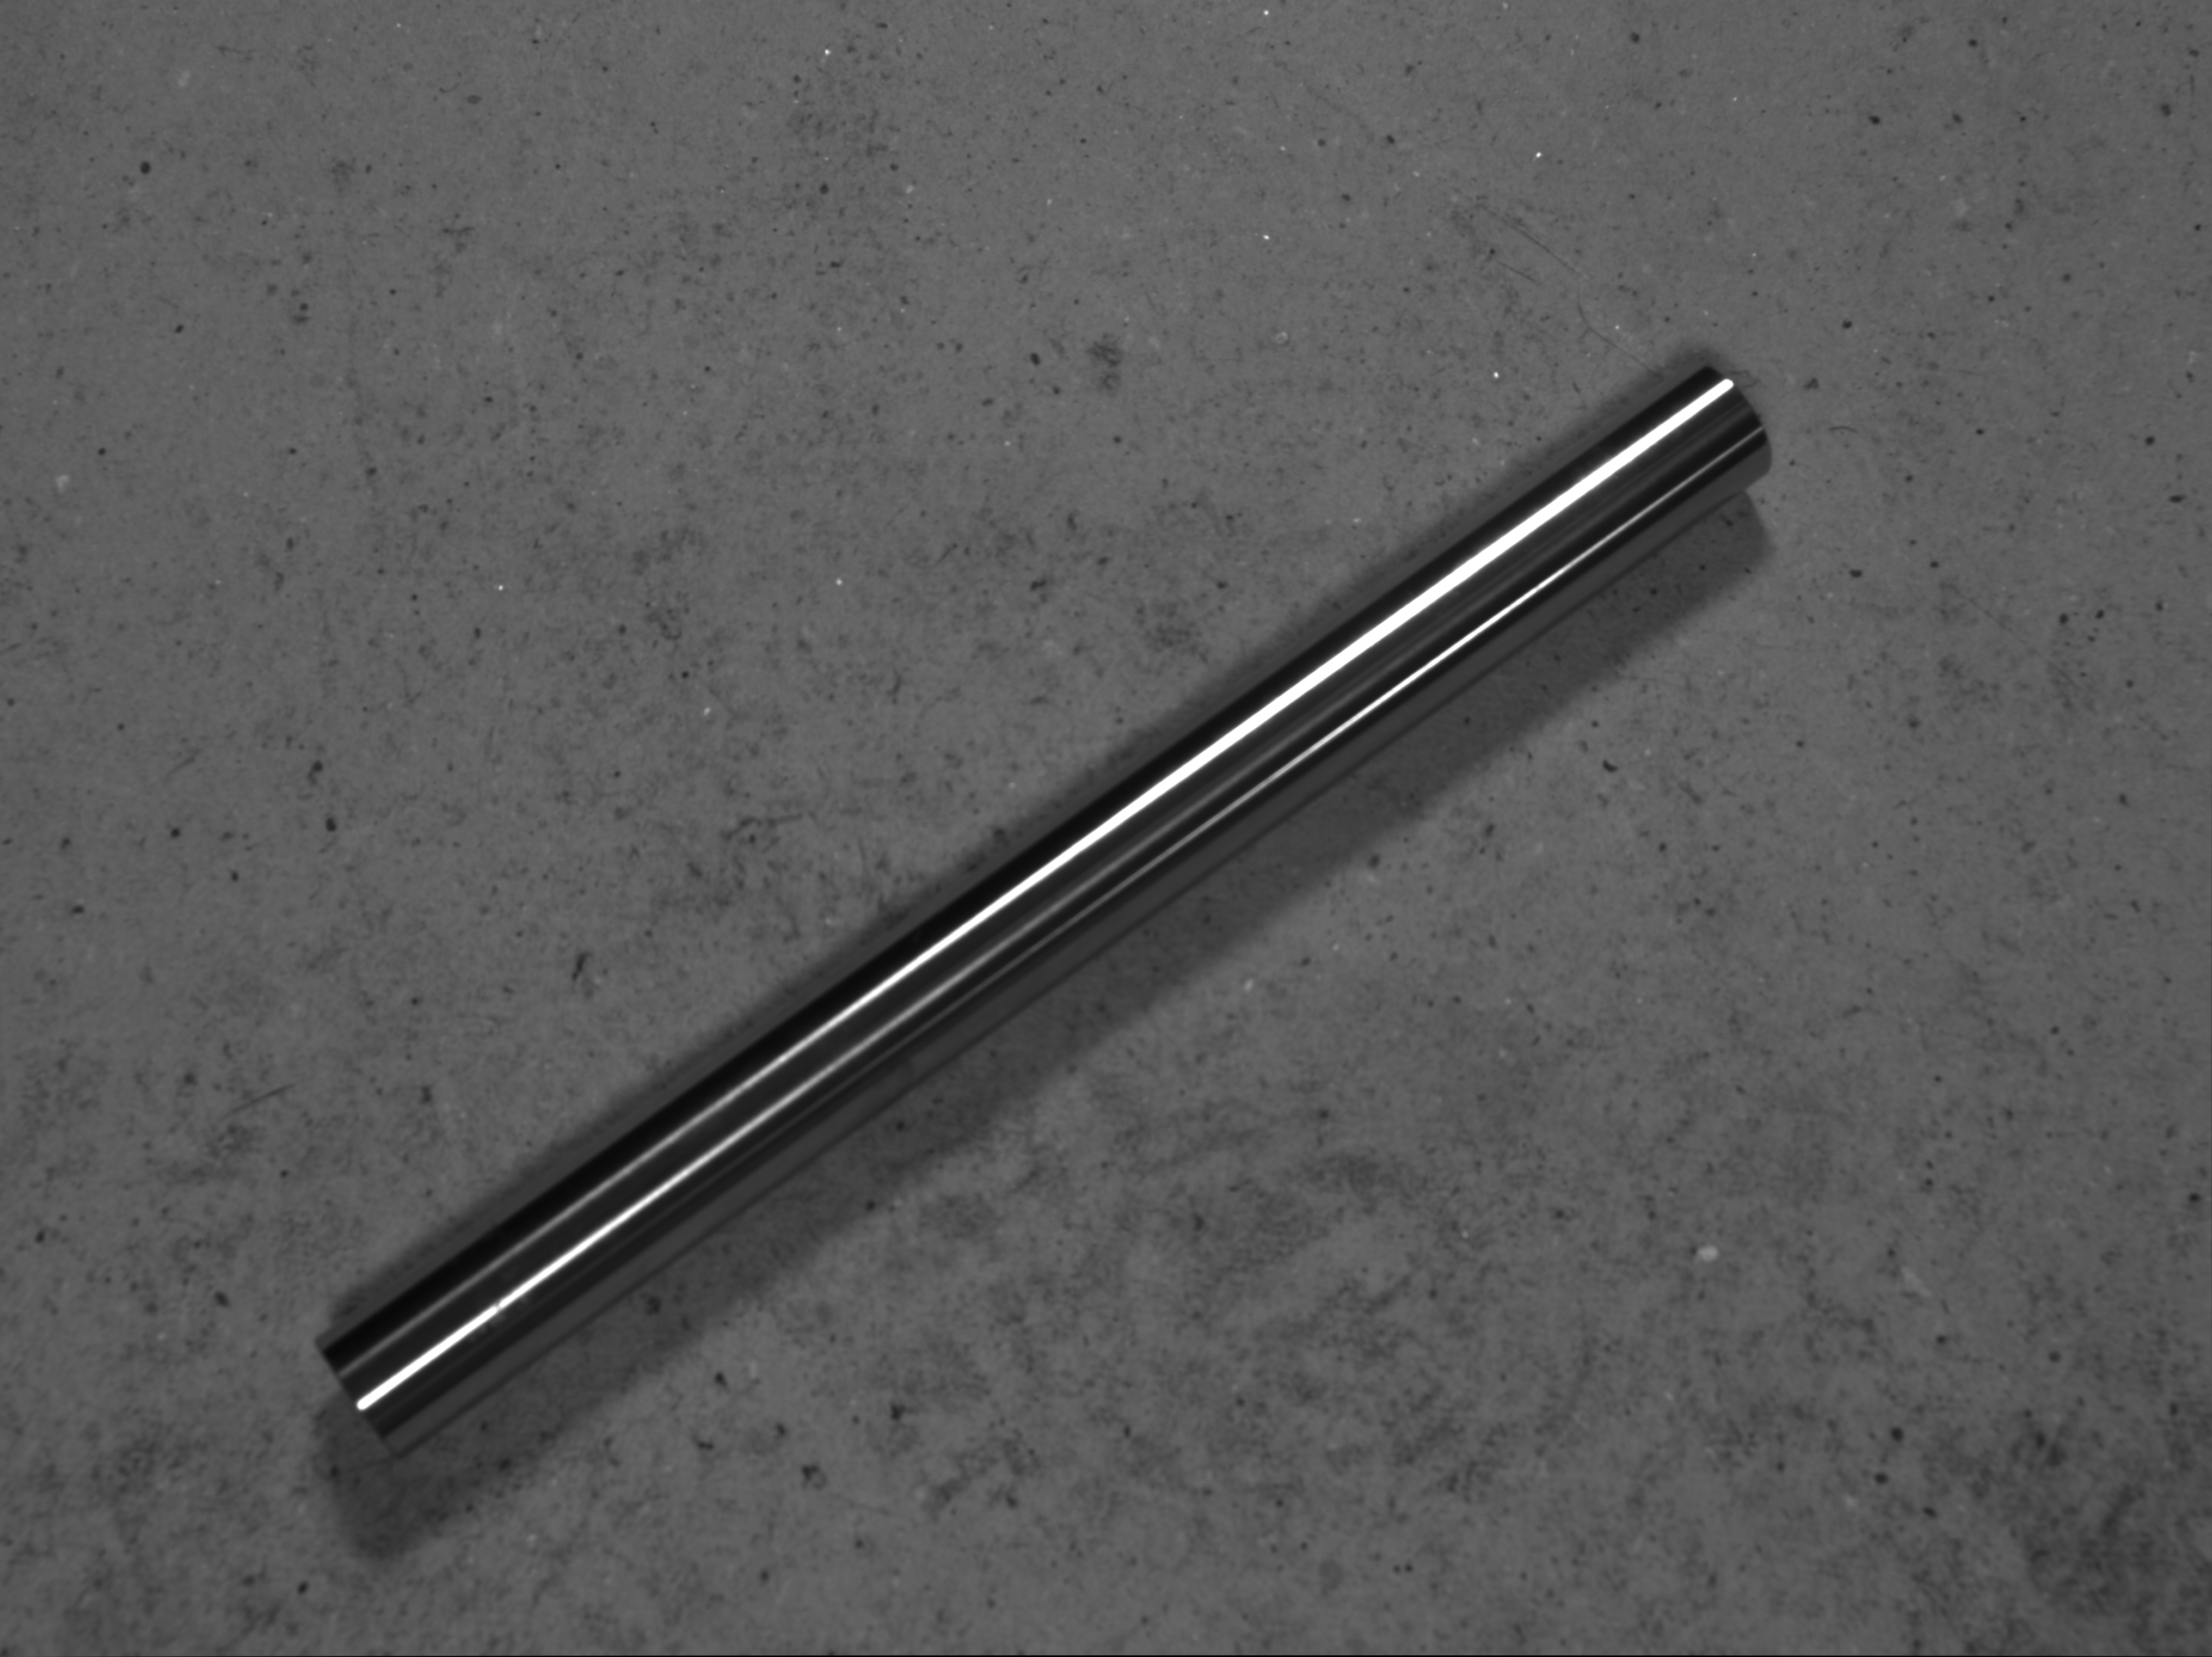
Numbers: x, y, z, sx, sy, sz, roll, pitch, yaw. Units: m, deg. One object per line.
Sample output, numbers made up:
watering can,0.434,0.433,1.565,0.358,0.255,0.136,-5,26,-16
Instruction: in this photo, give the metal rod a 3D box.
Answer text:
metal rod,-0.002,0.010,0.642,0.300,0.025,0.025,-35,74,-12
